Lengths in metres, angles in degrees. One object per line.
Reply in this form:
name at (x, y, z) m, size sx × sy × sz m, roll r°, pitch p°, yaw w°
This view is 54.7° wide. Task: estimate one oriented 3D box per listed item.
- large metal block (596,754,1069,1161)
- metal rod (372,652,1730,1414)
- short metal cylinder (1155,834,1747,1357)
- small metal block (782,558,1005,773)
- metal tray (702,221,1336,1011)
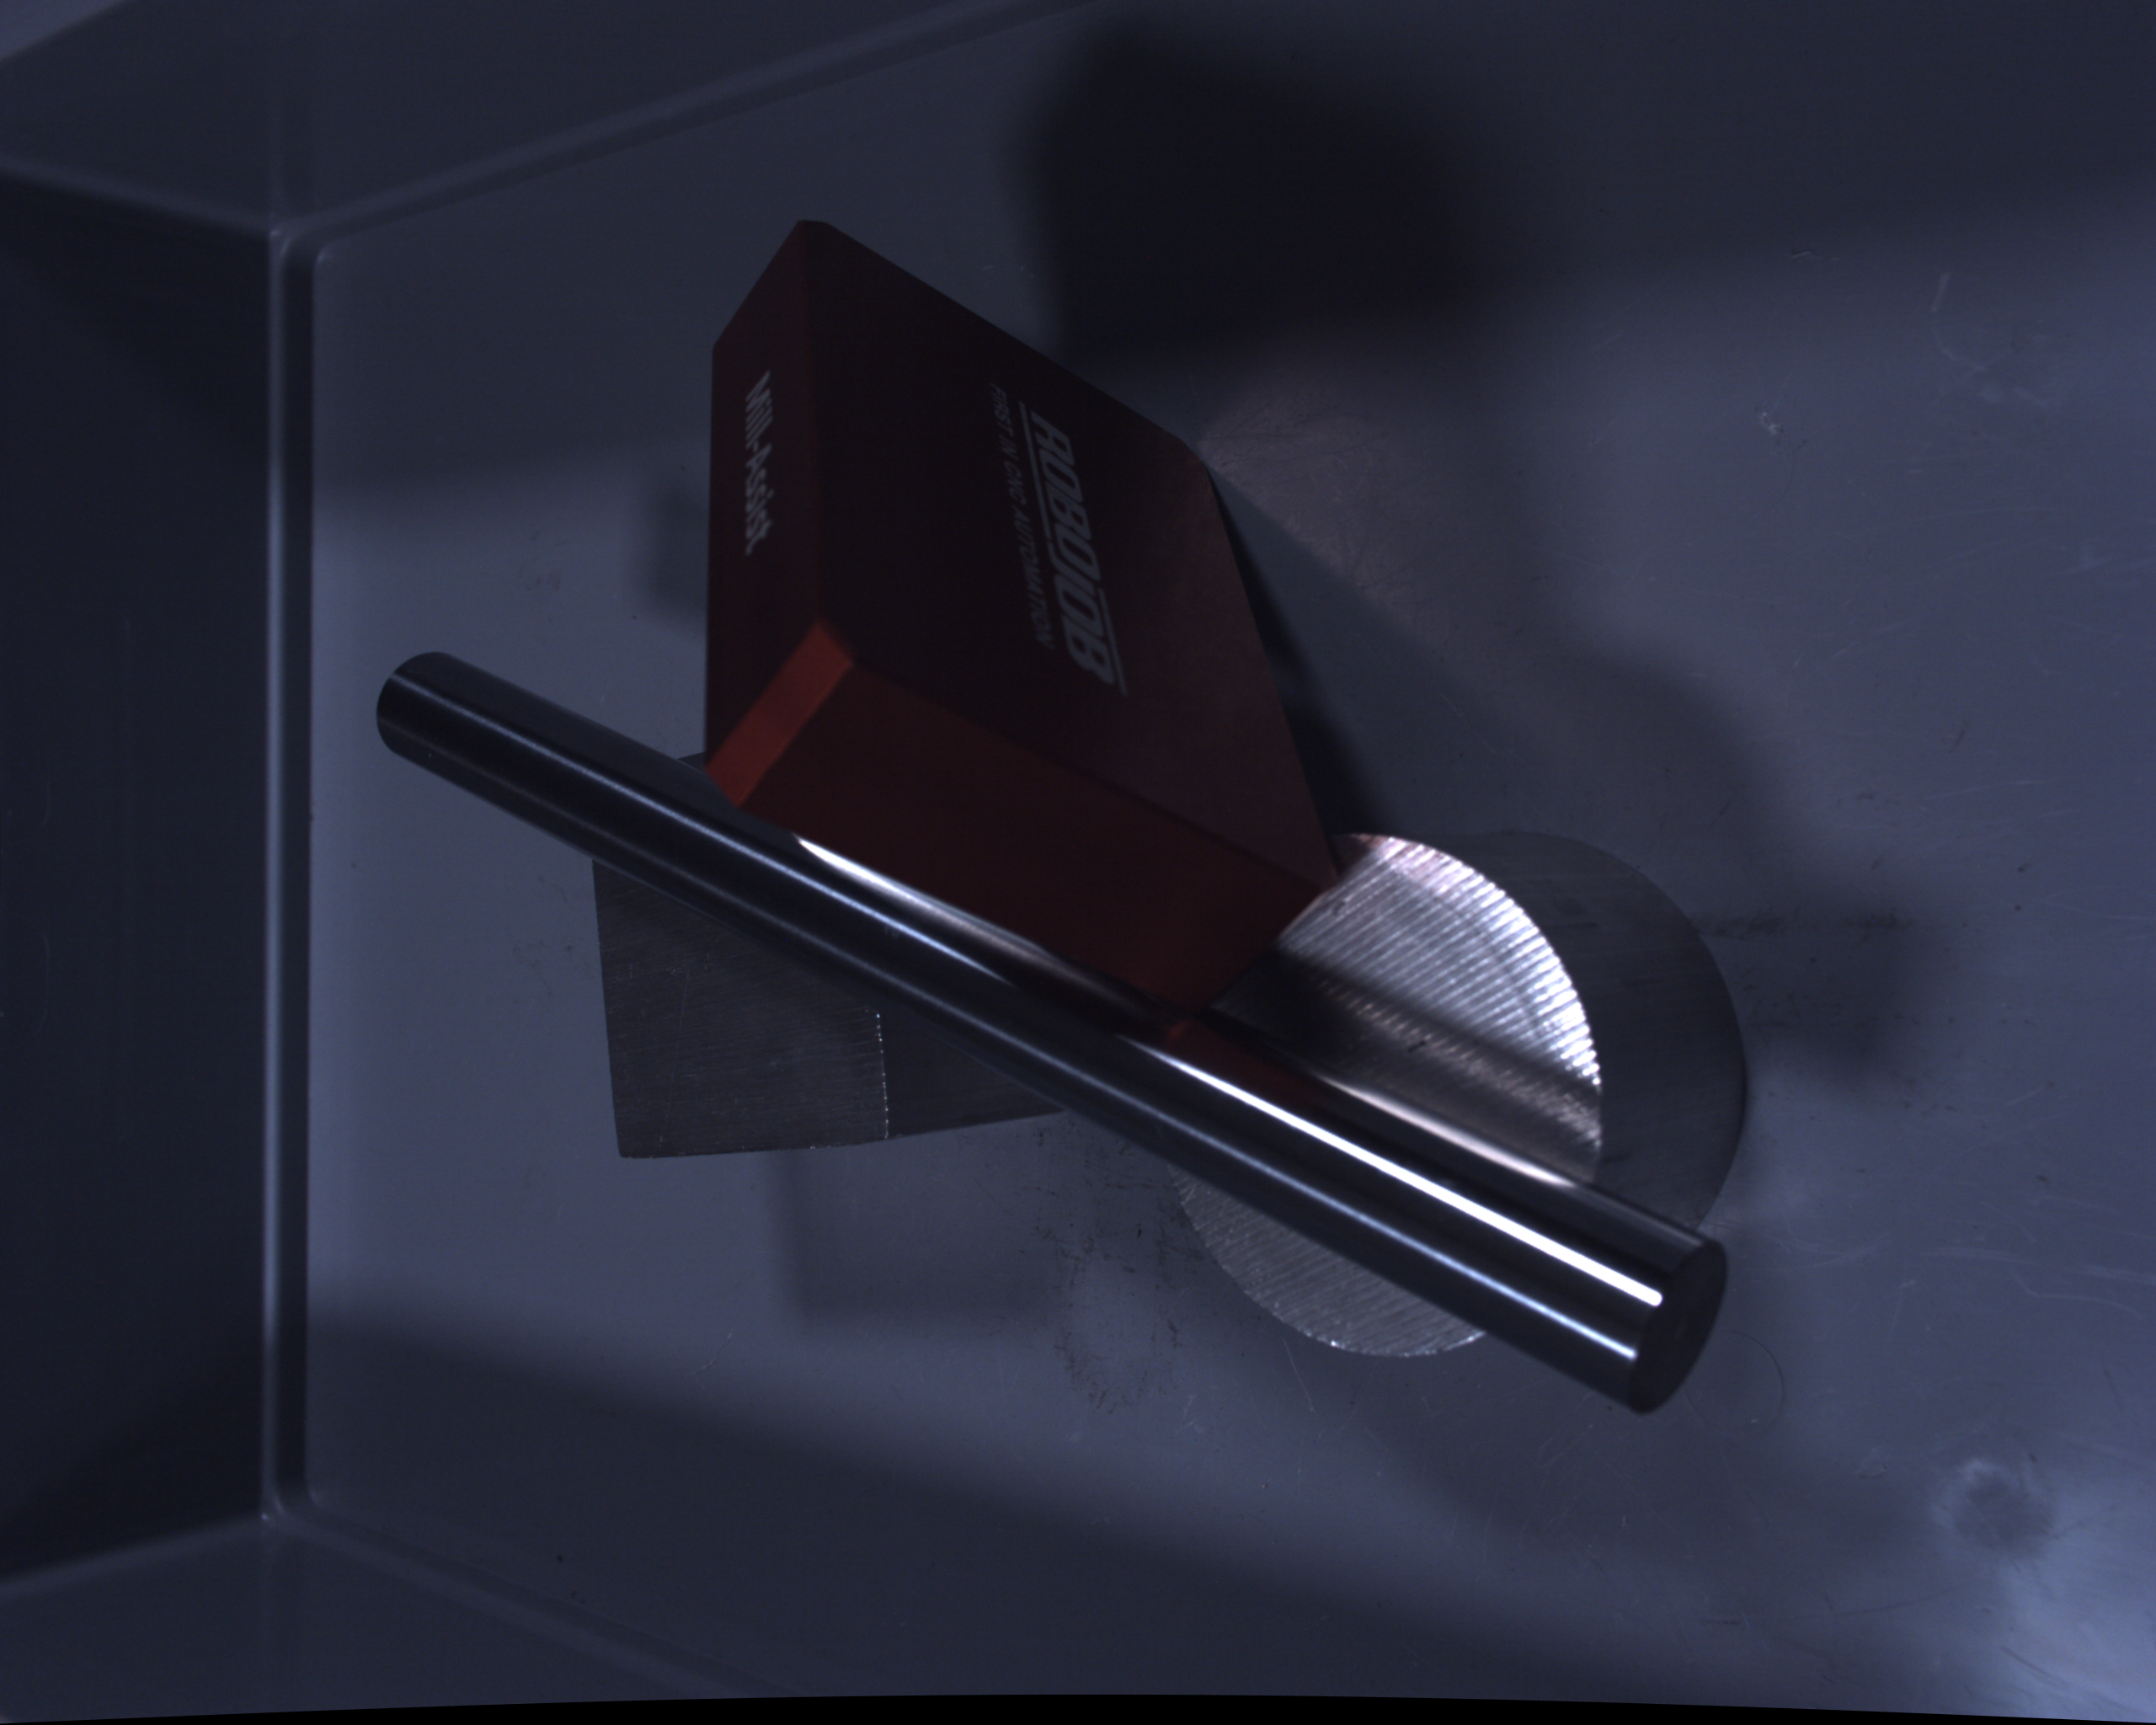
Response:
large metal block at (-0.053, 0.017, 0.430) m, size 0.080 × 0.050 × 0.080 m, roll -10°, pitch 84°, yaw 39°
metal rod at (-0.031, 0.013, 0.363) m, size 0.300 × 0.025 × 0.025 m, roll 23°, pitch 105°, yaw 37°
short metal cylinder at (0.060, 0.035, 0.338) m, size 0.080 × 0.050 × 0.079 m, roll 0°, pitch 90°, yaw 39°
small metal block at (-0.029, -0.044, 0.383) m, size 0.050 × 0.025 × 0.050 m, roll -3°, pitch 52°, yaw 13°
metal tray at (-0.013, -0.044, 0.340) m, size 0.030 × 0.090 × 0.130 m, roll -48°, pitch 32°, yaw 28°
